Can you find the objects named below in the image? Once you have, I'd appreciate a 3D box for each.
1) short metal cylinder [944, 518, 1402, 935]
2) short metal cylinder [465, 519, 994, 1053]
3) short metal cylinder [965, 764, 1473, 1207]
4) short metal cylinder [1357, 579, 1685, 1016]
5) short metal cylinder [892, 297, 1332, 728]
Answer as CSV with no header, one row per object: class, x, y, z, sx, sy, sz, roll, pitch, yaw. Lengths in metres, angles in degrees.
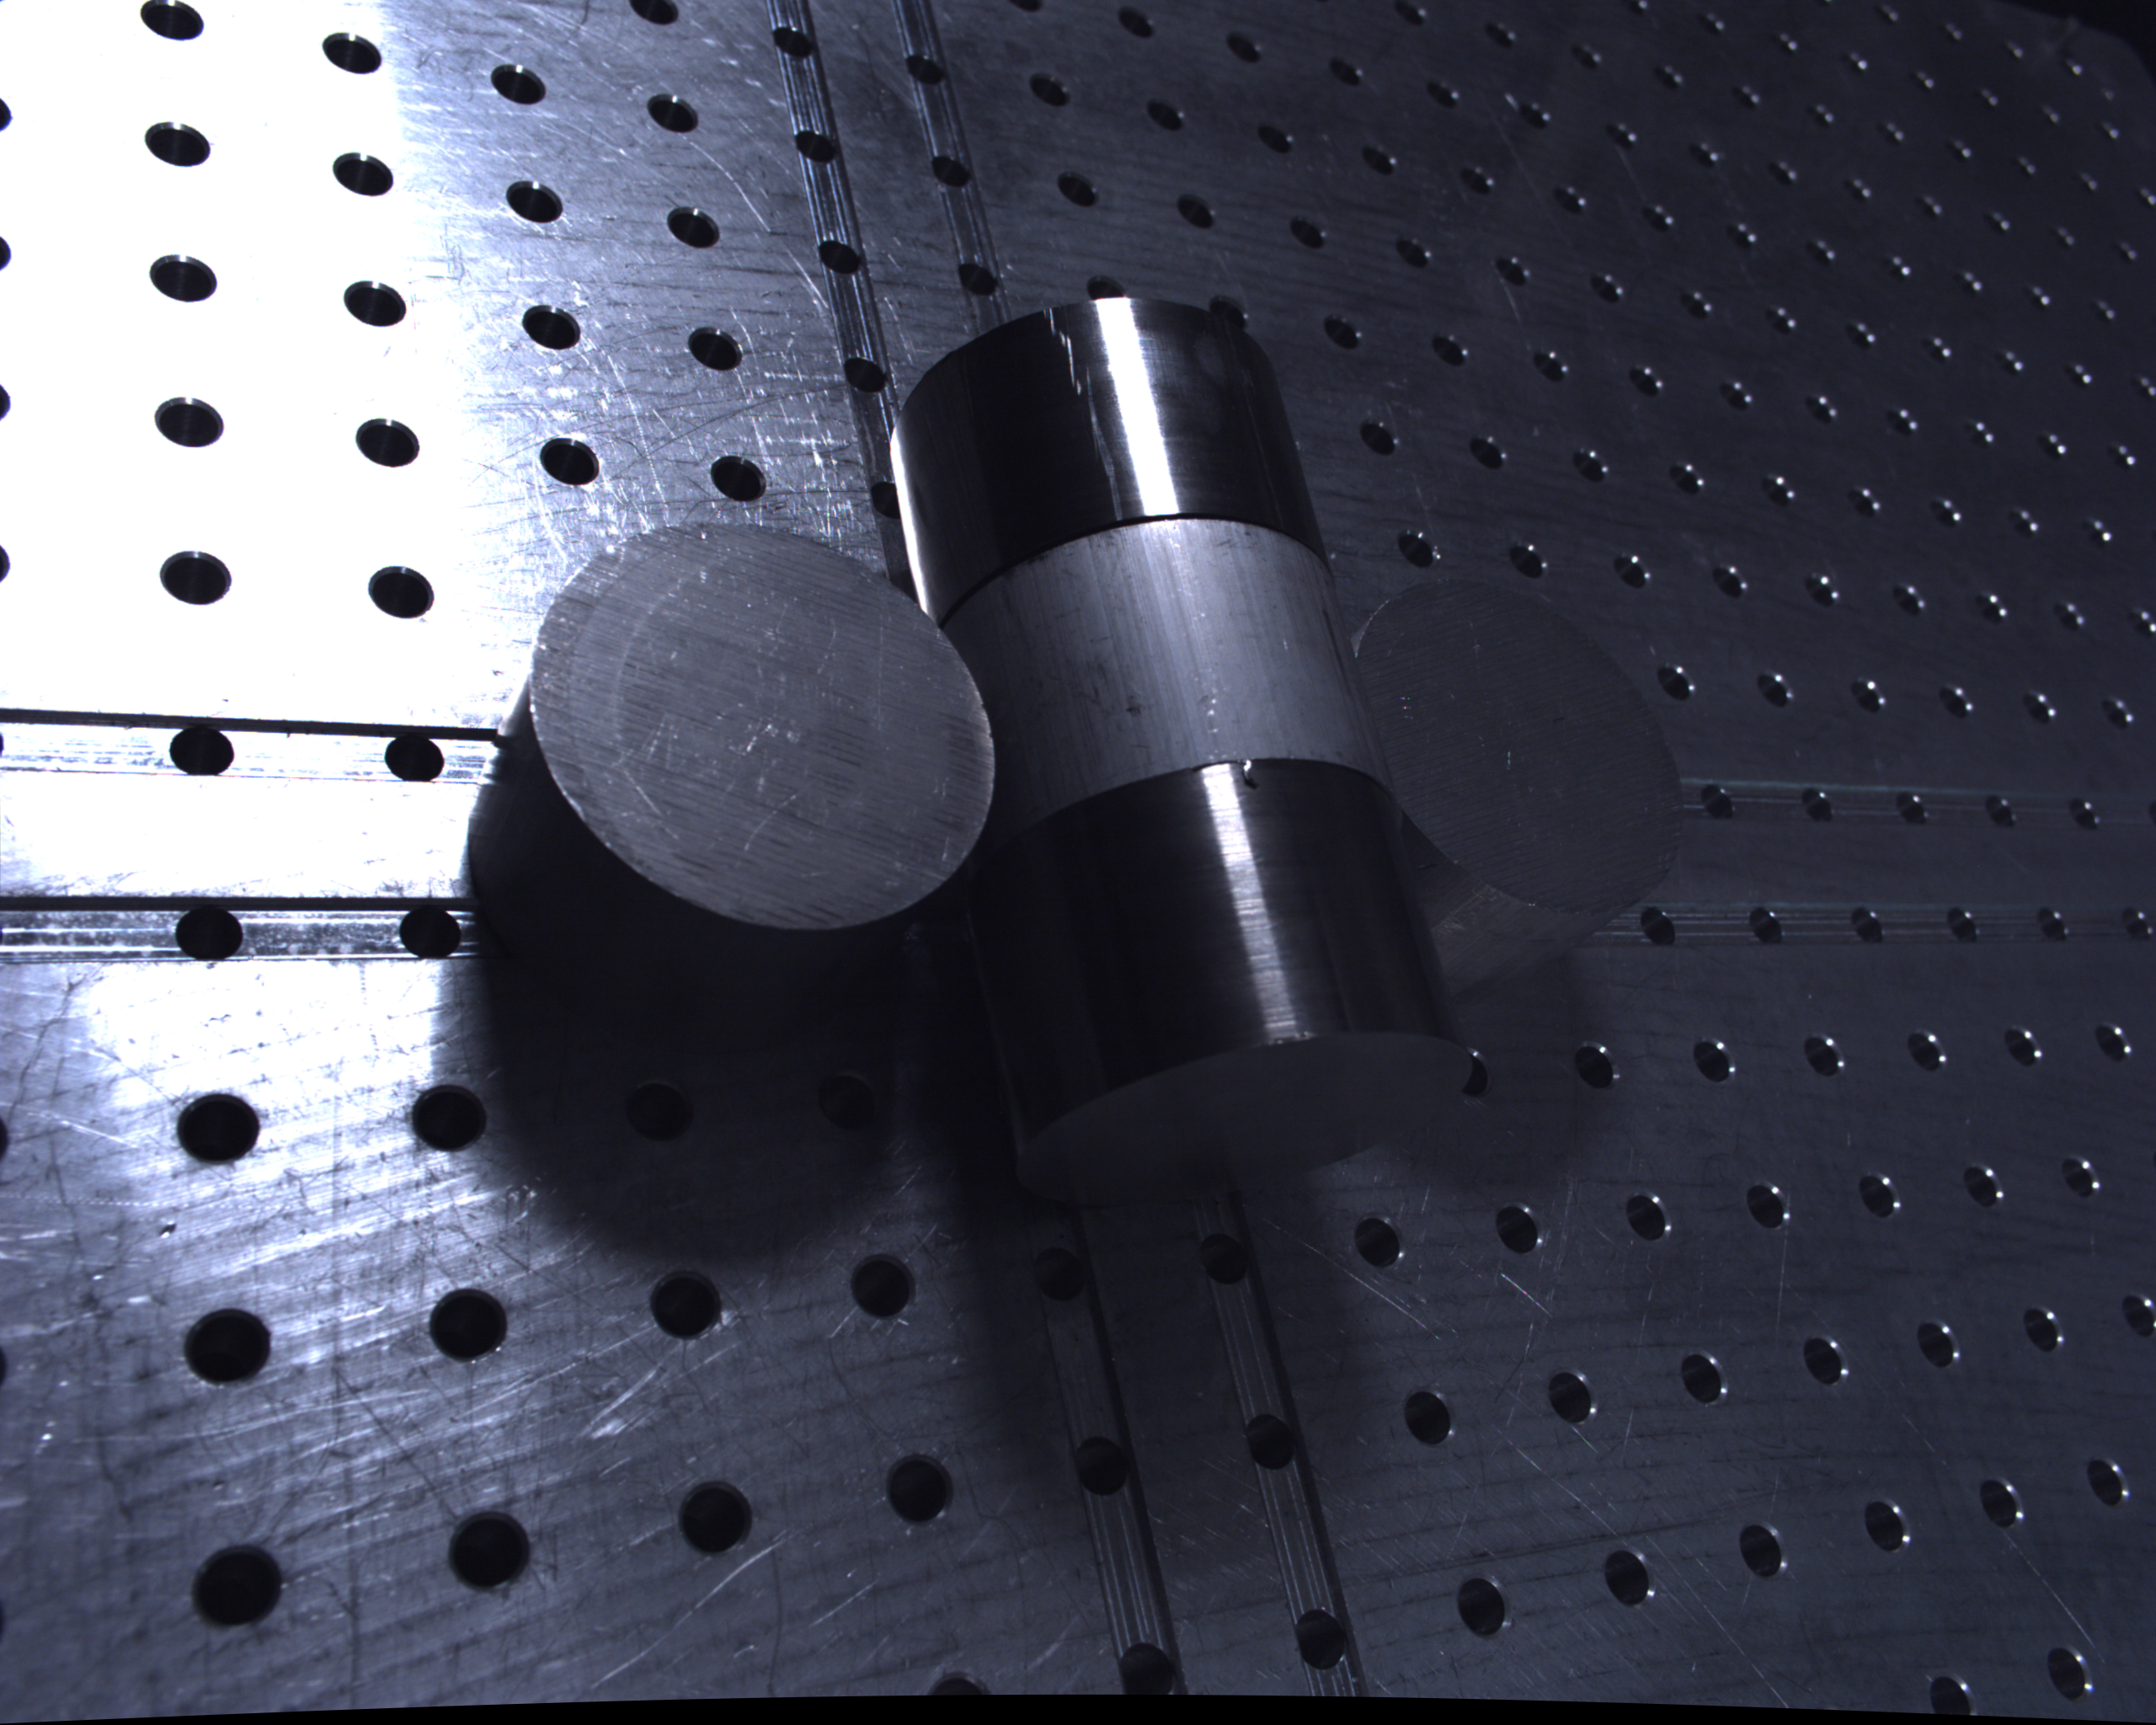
short metal cylinder,0.015,-0.021,0.395,0.081,0.080,0.050,2,61,-28
short metal cylinder,-0.062,-0.013,0.367,0.081,0.050,0.080,14,56,-21
short metal cylinder,0.024,0.024,0.372,0.081,0.080,0.050,1,61,-28
short metal cylinder,0.081,-0.013,0.445,0.081,0.050,0.080,14,56,-21
short metal cylinder,0.006,-0.066,0.417,0.081,0.080,0.050,3,61,-27
